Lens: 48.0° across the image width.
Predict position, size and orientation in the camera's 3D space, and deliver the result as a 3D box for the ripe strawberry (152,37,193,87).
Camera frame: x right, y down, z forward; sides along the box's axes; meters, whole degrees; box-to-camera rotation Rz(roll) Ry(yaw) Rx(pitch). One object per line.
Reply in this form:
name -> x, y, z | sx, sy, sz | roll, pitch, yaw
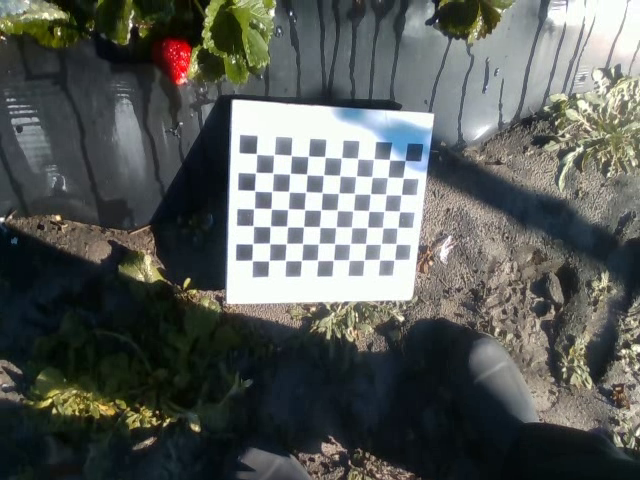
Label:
ripe strawberry -> -0.135, -0.171, 0.686 | 0.041, 0.053, 0.047 | -7, -22, -18
